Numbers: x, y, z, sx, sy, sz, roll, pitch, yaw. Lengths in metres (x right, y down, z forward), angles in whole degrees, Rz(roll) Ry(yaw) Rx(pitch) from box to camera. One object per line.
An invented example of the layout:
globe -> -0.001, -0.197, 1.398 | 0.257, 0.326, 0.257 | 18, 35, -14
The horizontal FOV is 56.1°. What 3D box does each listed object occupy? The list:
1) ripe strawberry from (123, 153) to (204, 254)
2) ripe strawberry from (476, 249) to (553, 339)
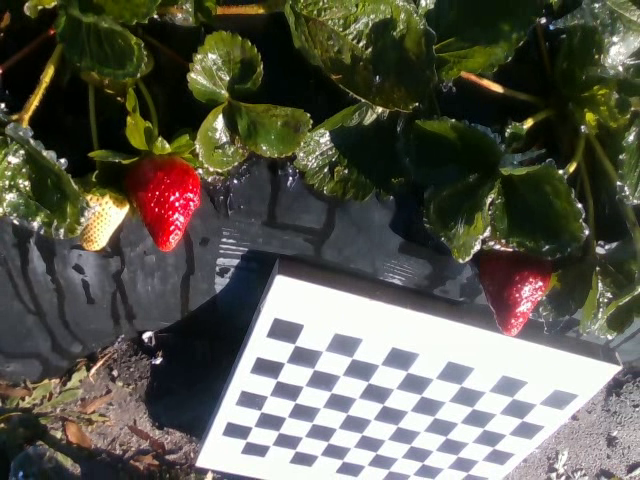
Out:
ripe strawberry -> -0.092, -0.018, 0.359 | 0.042, 0.061, 0.046 | 5, -1, -3
ripe strawberry -> 0.127, 0.037, 0.392 | 0.048, 0.061, 0.044 | 10, 8, -8
